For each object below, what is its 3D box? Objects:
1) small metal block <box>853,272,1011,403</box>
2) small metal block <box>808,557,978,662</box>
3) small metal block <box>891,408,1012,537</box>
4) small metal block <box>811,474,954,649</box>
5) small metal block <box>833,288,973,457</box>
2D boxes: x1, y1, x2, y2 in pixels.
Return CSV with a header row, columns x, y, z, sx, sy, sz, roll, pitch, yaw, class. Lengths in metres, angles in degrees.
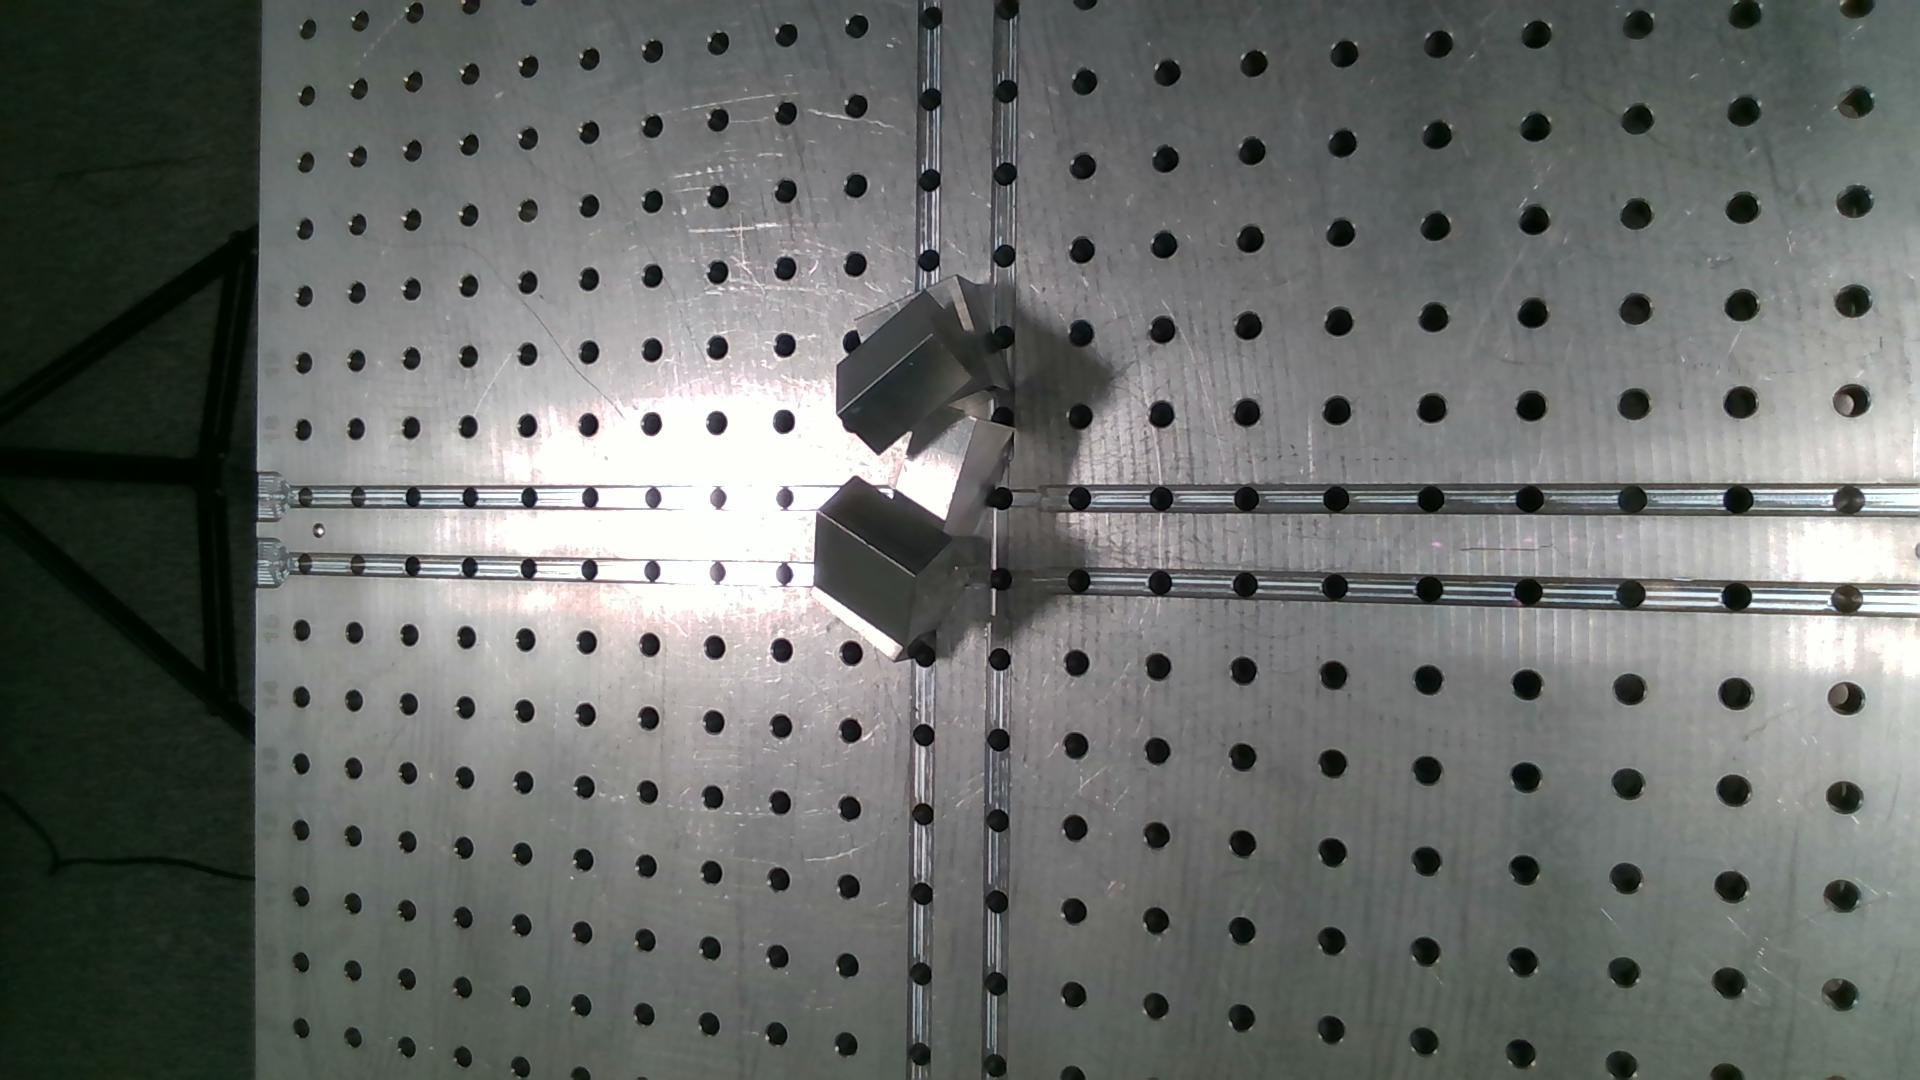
x,y,z,sx,sy,sz,roll,pitch,yaw,class
-0.012,-0.080,0.592,0.050,0.025,0.050,-21,83,19,small metal block
-0.029,0.017,0.599,0.050,0.025,0.050,37,102,16,small metal block
-0.003,-0.029,0.576,0.025,0.050,0.050,20,97,19,small metal block
-0.033,0.009,0.559,0.050,0.025,0.050,33,145,17,small metal block
-0.024,-0.068,0.553,0.050,0.050,0.025,-38,116,16,small metal block
